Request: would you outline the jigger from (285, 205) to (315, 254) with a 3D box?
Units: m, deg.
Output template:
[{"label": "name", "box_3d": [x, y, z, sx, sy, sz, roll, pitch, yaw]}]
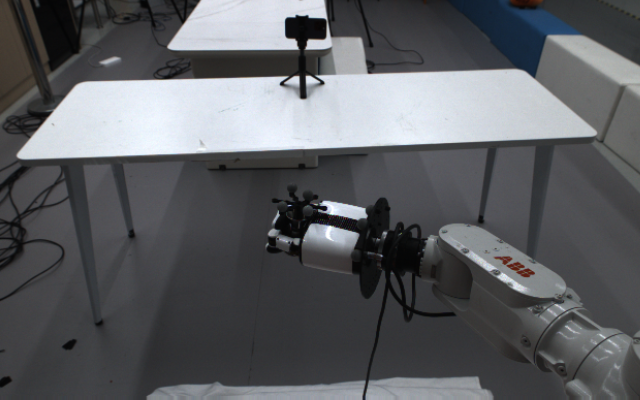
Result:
[{"label": "jigger", "box_3d": [-0.036, 0.053, 0.789, 0.043, 0.071, 0.043, 5, 26, -3]}]
